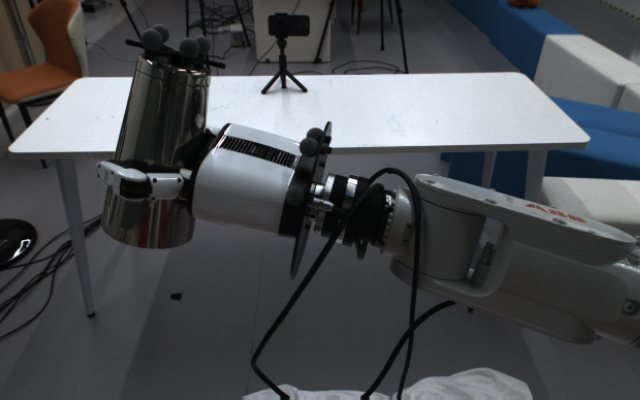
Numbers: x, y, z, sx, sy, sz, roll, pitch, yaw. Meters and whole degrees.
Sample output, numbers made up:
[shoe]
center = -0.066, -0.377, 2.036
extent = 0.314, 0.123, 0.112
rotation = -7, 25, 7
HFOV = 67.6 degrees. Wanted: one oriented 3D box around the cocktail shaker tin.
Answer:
[cocktail shaker tin]
center = -0.153, -0.047, 0.475
extent = 0.093, 0.170, 0.093
rotation = 15, 20, -5
